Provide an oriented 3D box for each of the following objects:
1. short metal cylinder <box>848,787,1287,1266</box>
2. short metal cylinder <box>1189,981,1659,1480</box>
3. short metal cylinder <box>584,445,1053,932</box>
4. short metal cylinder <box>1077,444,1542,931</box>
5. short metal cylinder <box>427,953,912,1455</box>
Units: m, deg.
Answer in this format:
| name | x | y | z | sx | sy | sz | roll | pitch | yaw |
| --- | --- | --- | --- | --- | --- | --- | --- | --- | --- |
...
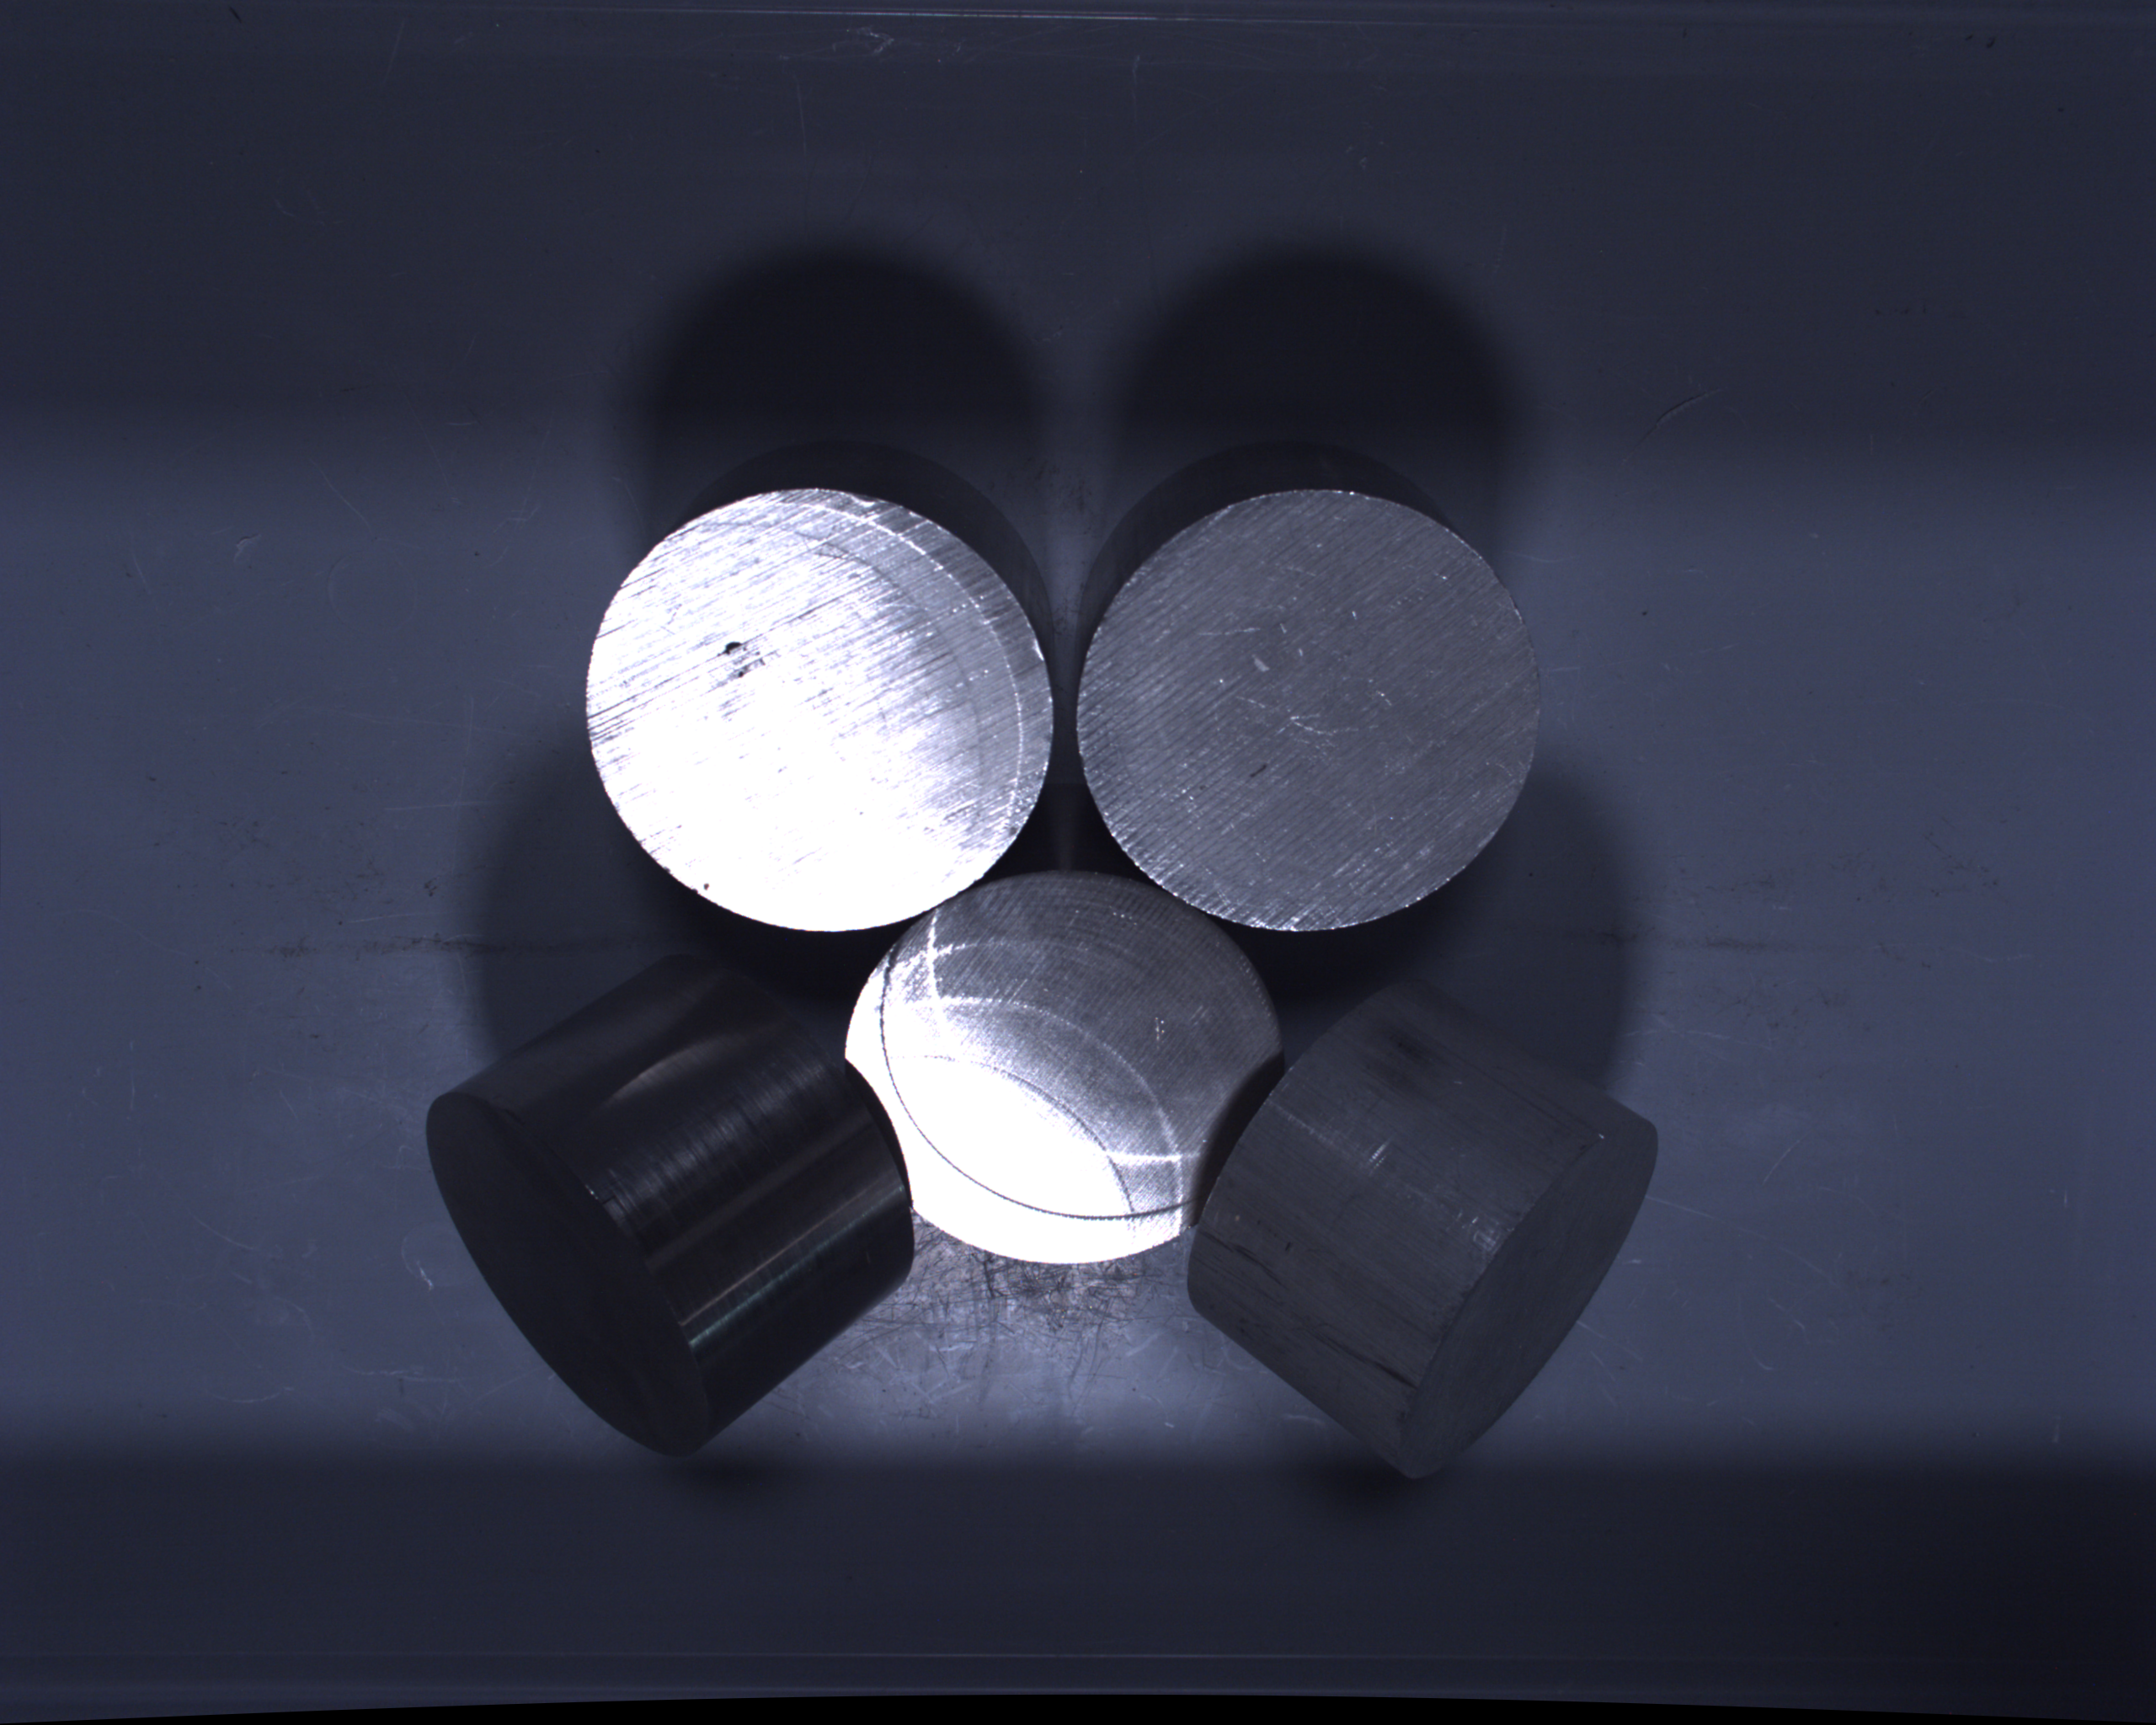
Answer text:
| name | x | y | z | sx | sy | sz | roll | pitch | yaw |
| --- | --- | --- | --- | --- | --- | --- | --- | --- | --- |
| short metal cylinder | -0.002 | 0.031 | 0.406 | 0.081 | 0.050 | 0.079 | 0 | 110 | -1 |
| short metal cylinder | 0.067 | 0.070 | 0.400 | 0.050 | 0.081 | 0.079 | 33 | 112 | 30 |
| short metal cylinder | -0.045 | -0.033 | 0.382 | 0.081 | 0.050 | 0.079 | 0 | 110 | -1 |
| short metal cylinder | 0.040 | -0.034 | 0.385 | 0.081 | 0.050 | 0.079 | 0 | 110 | -1 |
| short metal cylinder | -0.078 | 0.064 | 0.397 | 0.050 | 0.080 | 0.080 | -35 | 114 | -35 |
